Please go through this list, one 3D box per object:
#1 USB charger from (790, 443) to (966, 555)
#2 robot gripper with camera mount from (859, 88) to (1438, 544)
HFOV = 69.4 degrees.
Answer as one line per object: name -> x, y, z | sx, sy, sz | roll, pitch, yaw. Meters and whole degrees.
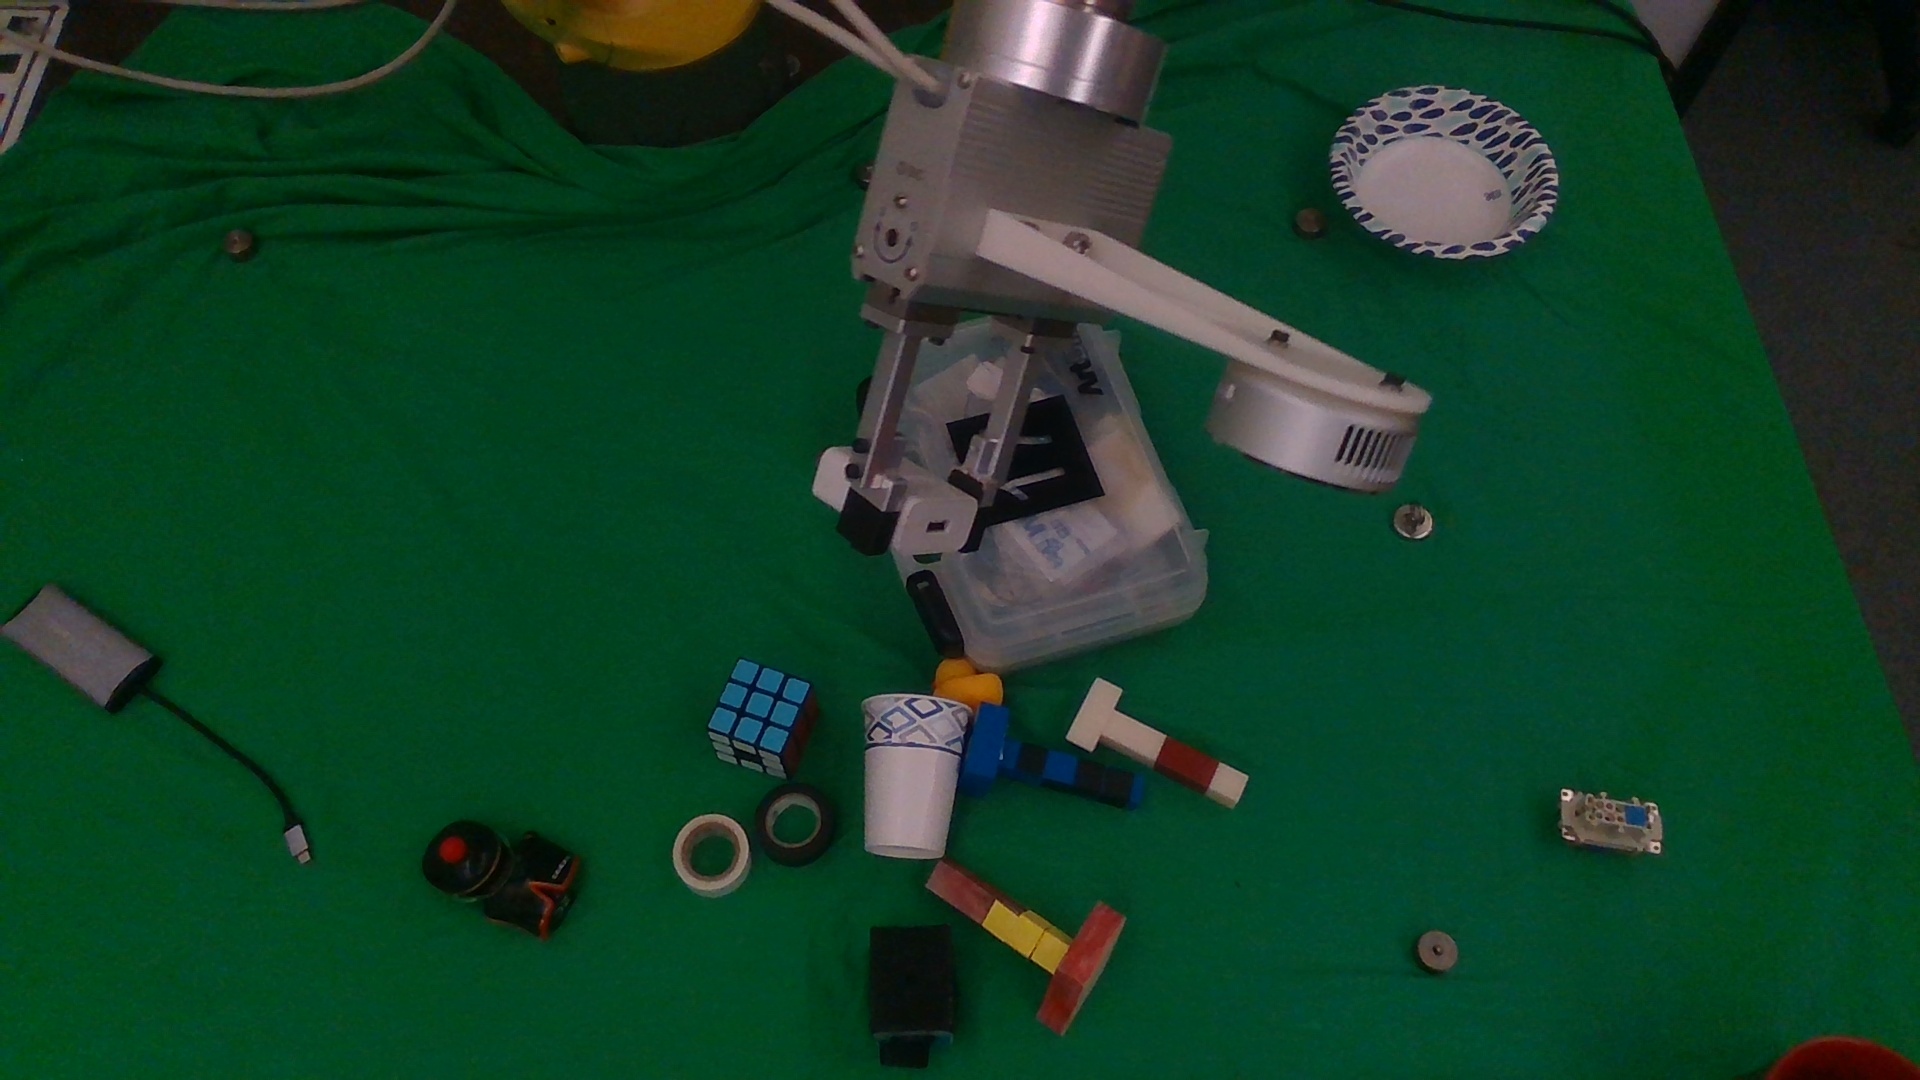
USB charger -> -0.037, -0.020, 0.548 | 0.076, 0.029, 0.044 | 28, 21, 34
robot gripper with camera mount -> 0.064, -0.046, 0.479 | 0.194, 0.158, 0.118 | 27, 19, 35
